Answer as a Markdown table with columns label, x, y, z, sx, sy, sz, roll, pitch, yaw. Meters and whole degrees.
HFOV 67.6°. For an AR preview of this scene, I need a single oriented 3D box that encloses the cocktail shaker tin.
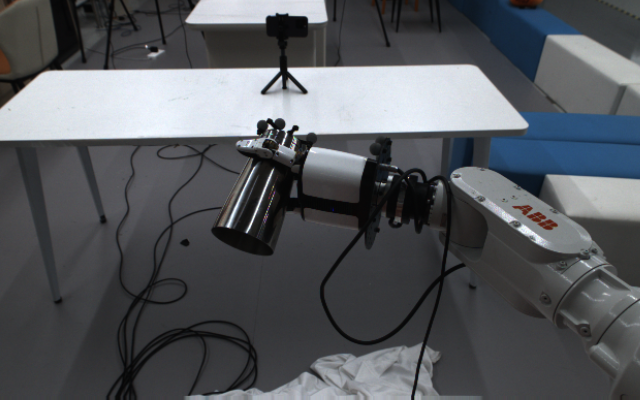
| label | x | y | z | sx | sy | sz | roll | pitch | yaw |
| --- | --- | --- | --- | --- | --- | --- | --- | --- | --- |
| cocktail shaker tin | -0.080 | -0.019 | 0.701 | 0.093 | 0.093 | 0.170 | 12 | 65 | 15 |
